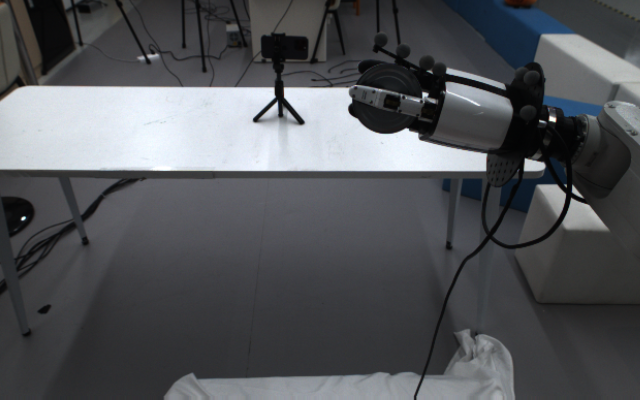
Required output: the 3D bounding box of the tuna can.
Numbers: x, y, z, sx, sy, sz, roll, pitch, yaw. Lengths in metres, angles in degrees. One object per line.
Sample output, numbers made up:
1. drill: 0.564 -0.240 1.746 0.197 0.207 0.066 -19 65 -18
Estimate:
1. tuna can: 0.086 -0.130 0.610 0.085 0.085 0.034 7 17 6
